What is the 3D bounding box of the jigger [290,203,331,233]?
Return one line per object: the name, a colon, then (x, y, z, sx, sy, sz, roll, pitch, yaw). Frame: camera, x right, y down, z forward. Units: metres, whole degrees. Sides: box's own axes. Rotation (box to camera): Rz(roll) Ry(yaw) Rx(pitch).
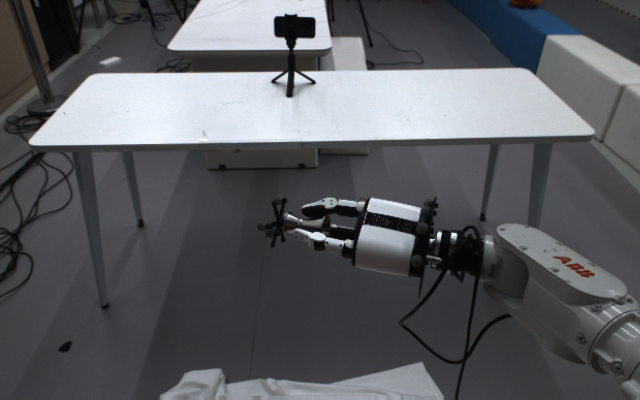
jigger: (-0.014, 0.036, 0.796, 0.071, 0.043, 0.043, 5, 34, 20)
